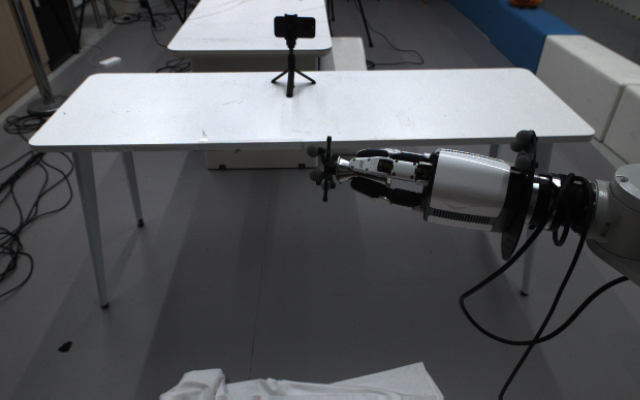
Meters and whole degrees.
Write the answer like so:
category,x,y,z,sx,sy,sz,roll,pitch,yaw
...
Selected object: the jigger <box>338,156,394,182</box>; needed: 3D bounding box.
category,x,y,z,sx,sy,sz,roll,pitch,yaw
jigger,0.066,-0.044,0.643,0.071,0.043,0.043,2,34,16
